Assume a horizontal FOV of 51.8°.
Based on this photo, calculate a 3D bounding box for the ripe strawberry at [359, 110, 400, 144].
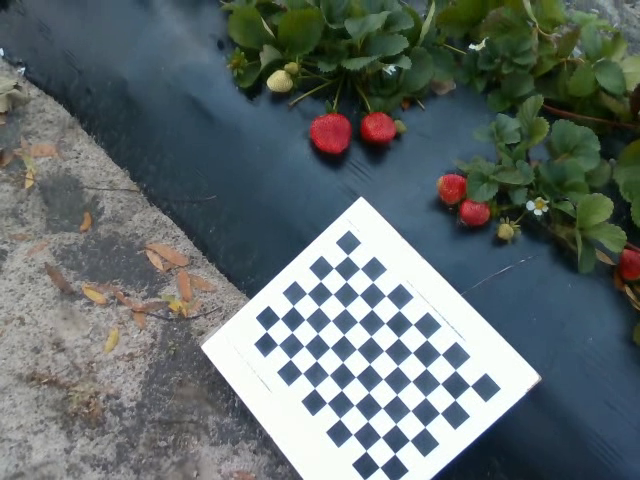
[{"bbox_3d":[0.080,-0.146,0.863,0.050,0.051,0.060,-23,25,15],"label":"ripe strawberry"}]

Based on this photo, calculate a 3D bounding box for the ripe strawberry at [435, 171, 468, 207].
[{"bbox_3d":[0.167,-0.066,0.825,0.053,0.047,0.038,24,1,-15],"label":"ripe strawberry"}]

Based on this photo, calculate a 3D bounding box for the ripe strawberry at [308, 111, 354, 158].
[{"bbox_3d":[0.016,-0.136,0.851,0.058,0.065,0.044,-17,-32,16],"label":"ripe strawberry"}]

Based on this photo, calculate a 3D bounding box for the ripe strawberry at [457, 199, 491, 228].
[{"bbox_3d":[0.189,-0.037,0.801,0.043,0.041,0.049,42,29,19],"label":"ripe strawberry"}]
